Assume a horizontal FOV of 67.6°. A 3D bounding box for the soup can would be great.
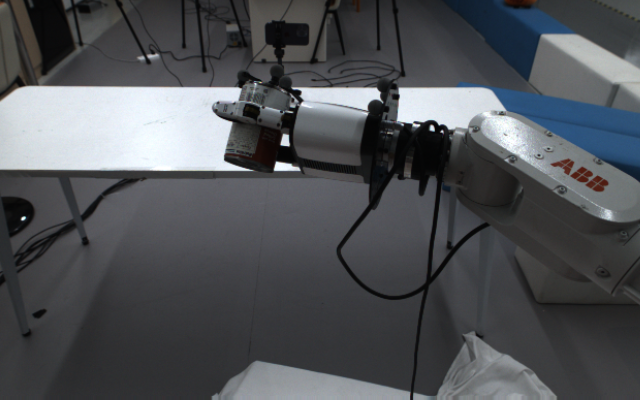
[{"bbox_3d":[-0.079,-0.092,0.624,0.067,0.101,0.067,13,-6,1],"label":"soup can"}]
